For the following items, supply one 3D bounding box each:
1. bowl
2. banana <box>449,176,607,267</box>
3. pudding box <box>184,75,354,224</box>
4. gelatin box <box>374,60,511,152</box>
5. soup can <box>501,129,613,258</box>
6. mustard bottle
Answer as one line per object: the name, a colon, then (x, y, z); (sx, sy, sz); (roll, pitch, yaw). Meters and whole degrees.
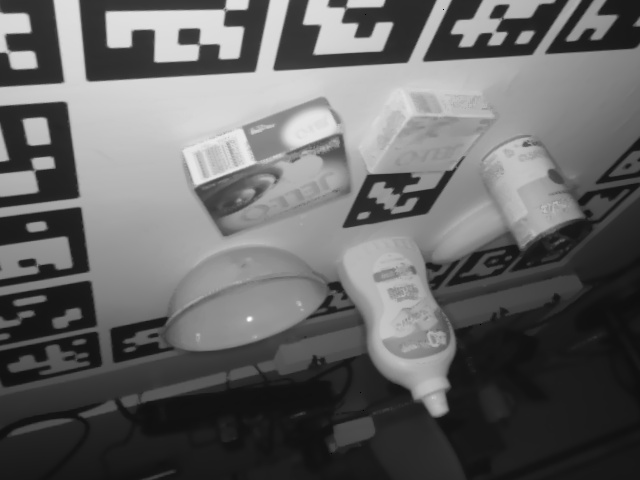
bowl: (-0.077, 0.041, 0.674); (0.163, 0.055, 0.160); (-17, 152, -9)
banana: (0.223, -0.022, 0.771); (0.195, 0.039, 0.075); (-33, 159, 21)
pudding box: (-0.034, -0.067, 0.529); (0.114, 0.039, 0.090); (-21, 146, 1)
gelatin box: (0.098, -0.106, 0.557); (0.090, 0.030, 0.072); (-5, 144, -26)
soup can: (0.219, -0.044, 0.647); (0.068, 0.102, 0.067); (-14, 152, -7)
mustard bottle: (0.103, 0.094, 0.709); (0.097, 0.192, 0.057); (-8, 152, -20)
